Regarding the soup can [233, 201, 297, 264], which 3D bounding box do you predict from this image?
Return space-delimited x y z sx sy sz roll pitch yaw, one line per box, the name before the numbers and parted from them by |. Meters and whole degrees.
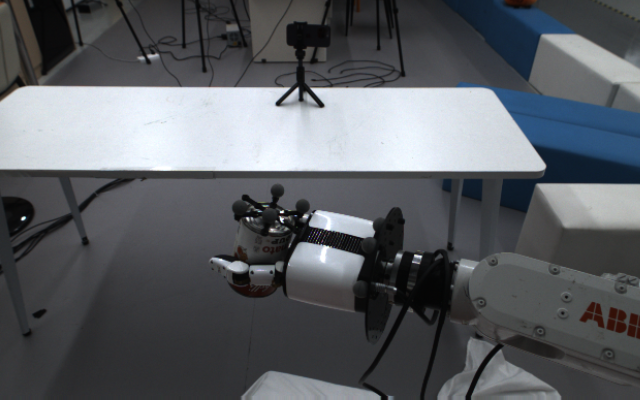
soup can | -0.073 0.063 0.602 0.067 0.101 0.067 13 30 -8
